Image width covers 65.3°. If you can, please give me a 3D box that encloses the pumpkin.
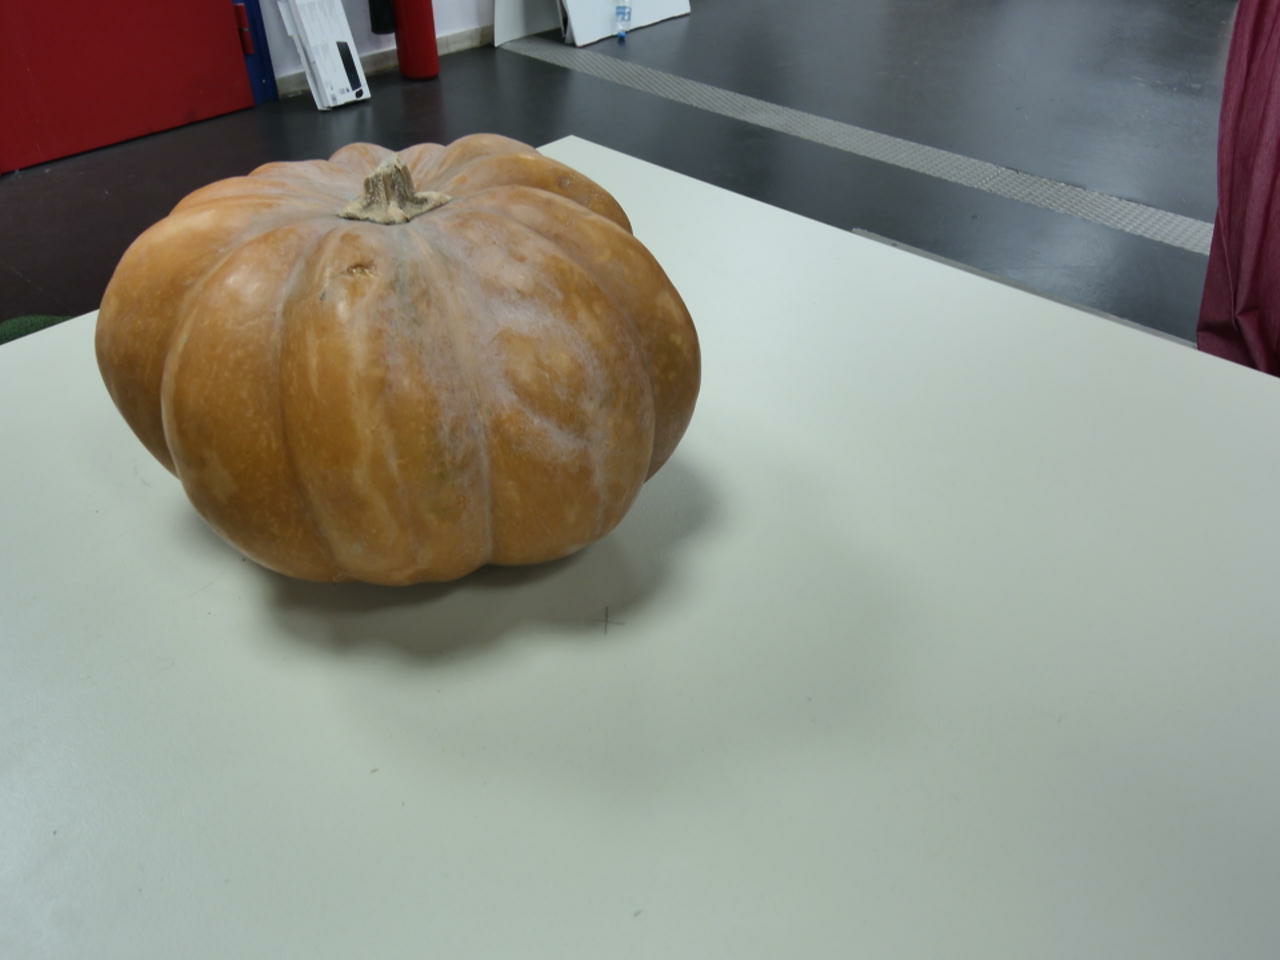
[{"bbox_3d":[-0.107,-0.062,0.484,0.277,0.181,0.277,0,37,0],"label":"pumpkin"}]
